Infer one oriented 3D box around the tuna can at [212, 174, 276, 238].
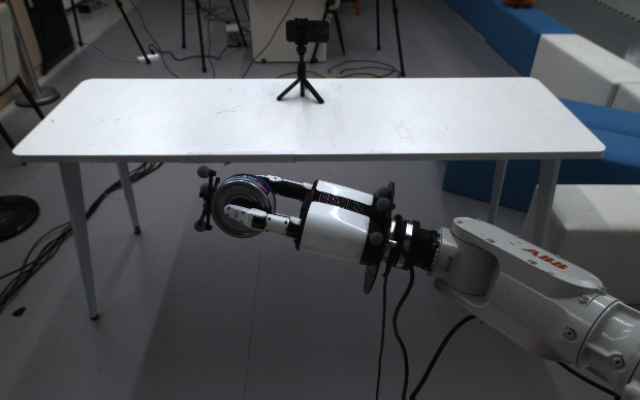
[{"bbox_3d":[-0.104,0.009,0.666,0.085,0.085,0.034,4,18,3],"label":"tuna can"}]
